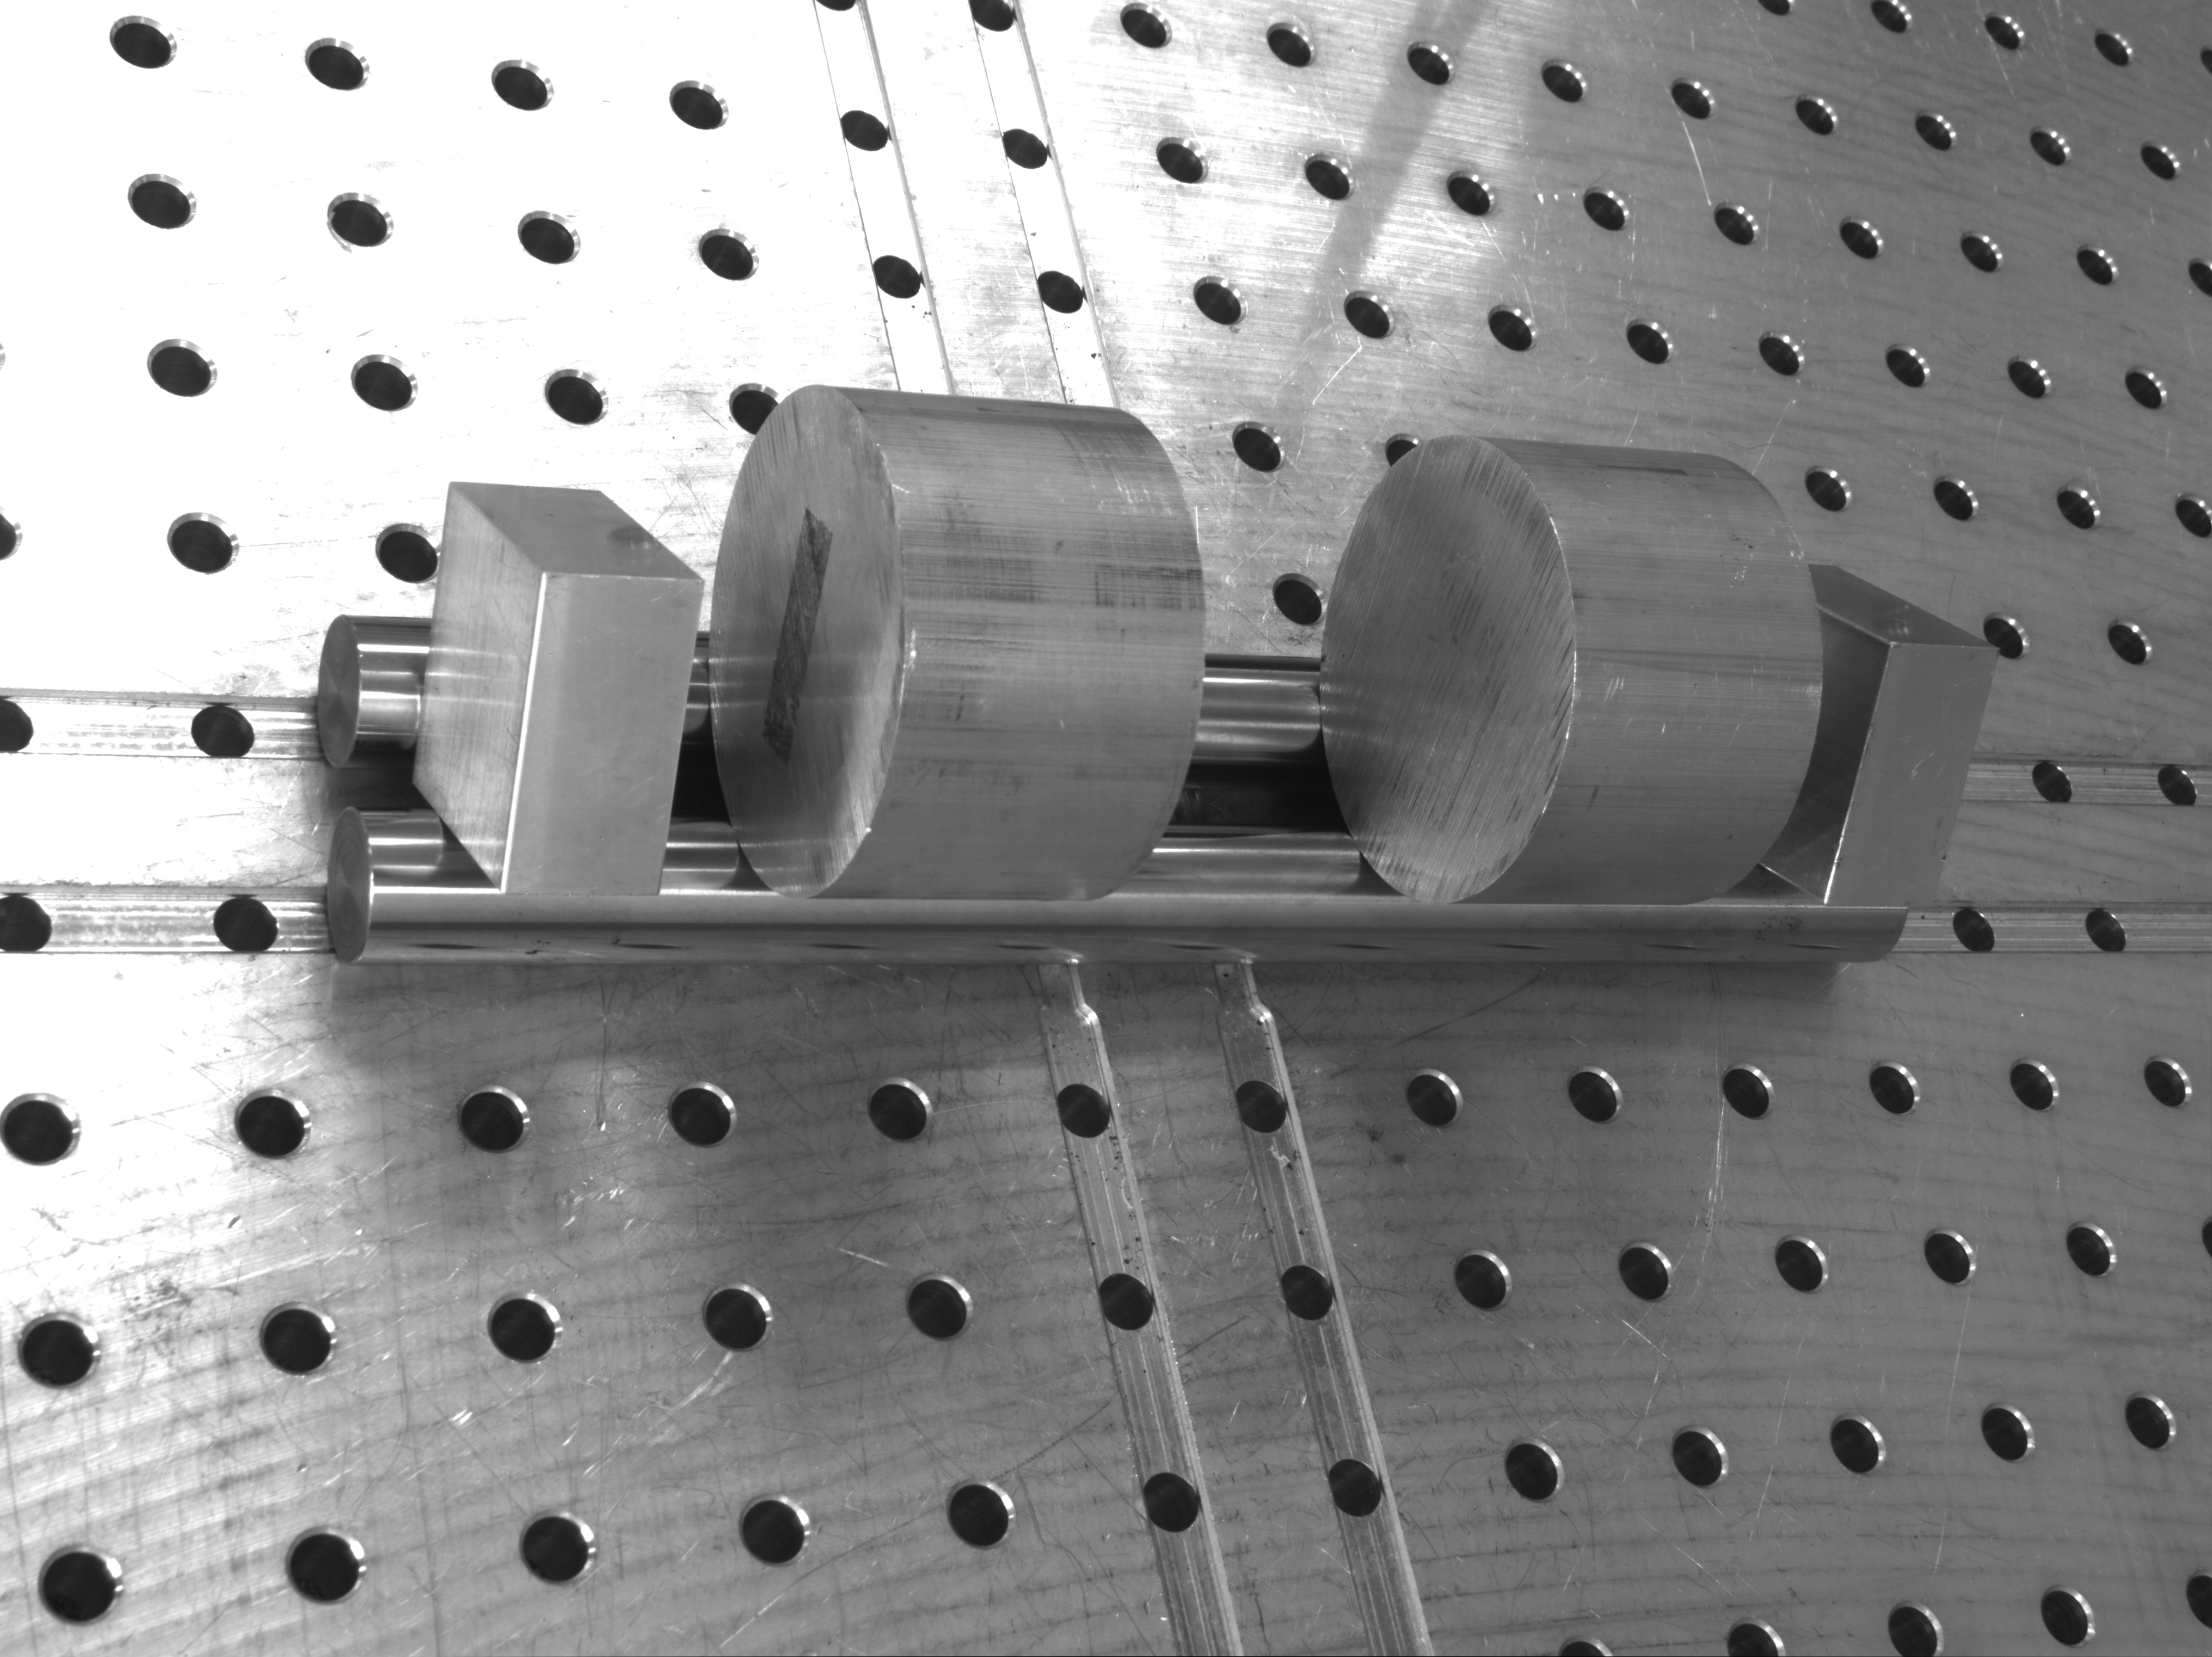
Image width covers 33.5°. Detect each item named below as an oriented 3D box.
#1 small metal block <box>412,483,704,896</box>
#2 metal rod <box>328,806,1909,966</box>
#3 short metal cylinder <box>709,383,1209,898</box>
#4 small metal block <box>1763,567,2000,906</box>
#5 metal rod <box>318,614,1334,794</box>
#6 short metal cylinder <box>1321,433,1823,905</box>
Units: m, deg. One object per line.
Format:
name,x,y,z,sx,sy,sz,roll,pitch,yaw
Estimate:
small metal block,-0.085,-0.022,0.566,0.025,0.050,0.050,1,19,-27
metal rod,0.015,0.011,0.644,0.301,0.025,0.025,1,61,-28
short metal cylinder,-0.025,-0.029,0.583,0.050,0.080,0.080,1,61,-28
small metal block,0.134,-0.018,0.680,0.025,0.050,0.050,0,20,-27
metal rod,0.010,-0.019,0.660,0.301,0.025,0.025,1,61,-28
short metal cylinder,0.079,-0.027,0.638,0.050,0.080,0.080,1,61,-28
